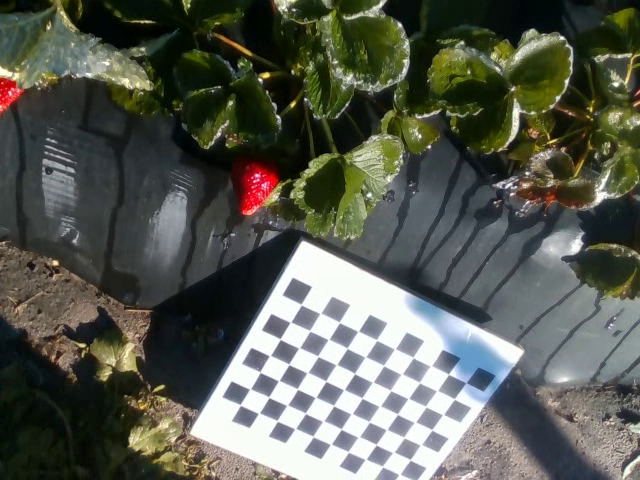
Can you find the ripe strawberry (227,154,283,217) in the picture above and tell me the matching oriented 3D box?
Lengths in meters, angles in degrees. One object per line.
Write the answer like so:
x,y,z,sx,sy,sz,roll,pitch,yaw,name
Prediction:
-0.053,-0.041,0.492,0.041,0.053,0.047,20,-20,-11,ripe strawberry
